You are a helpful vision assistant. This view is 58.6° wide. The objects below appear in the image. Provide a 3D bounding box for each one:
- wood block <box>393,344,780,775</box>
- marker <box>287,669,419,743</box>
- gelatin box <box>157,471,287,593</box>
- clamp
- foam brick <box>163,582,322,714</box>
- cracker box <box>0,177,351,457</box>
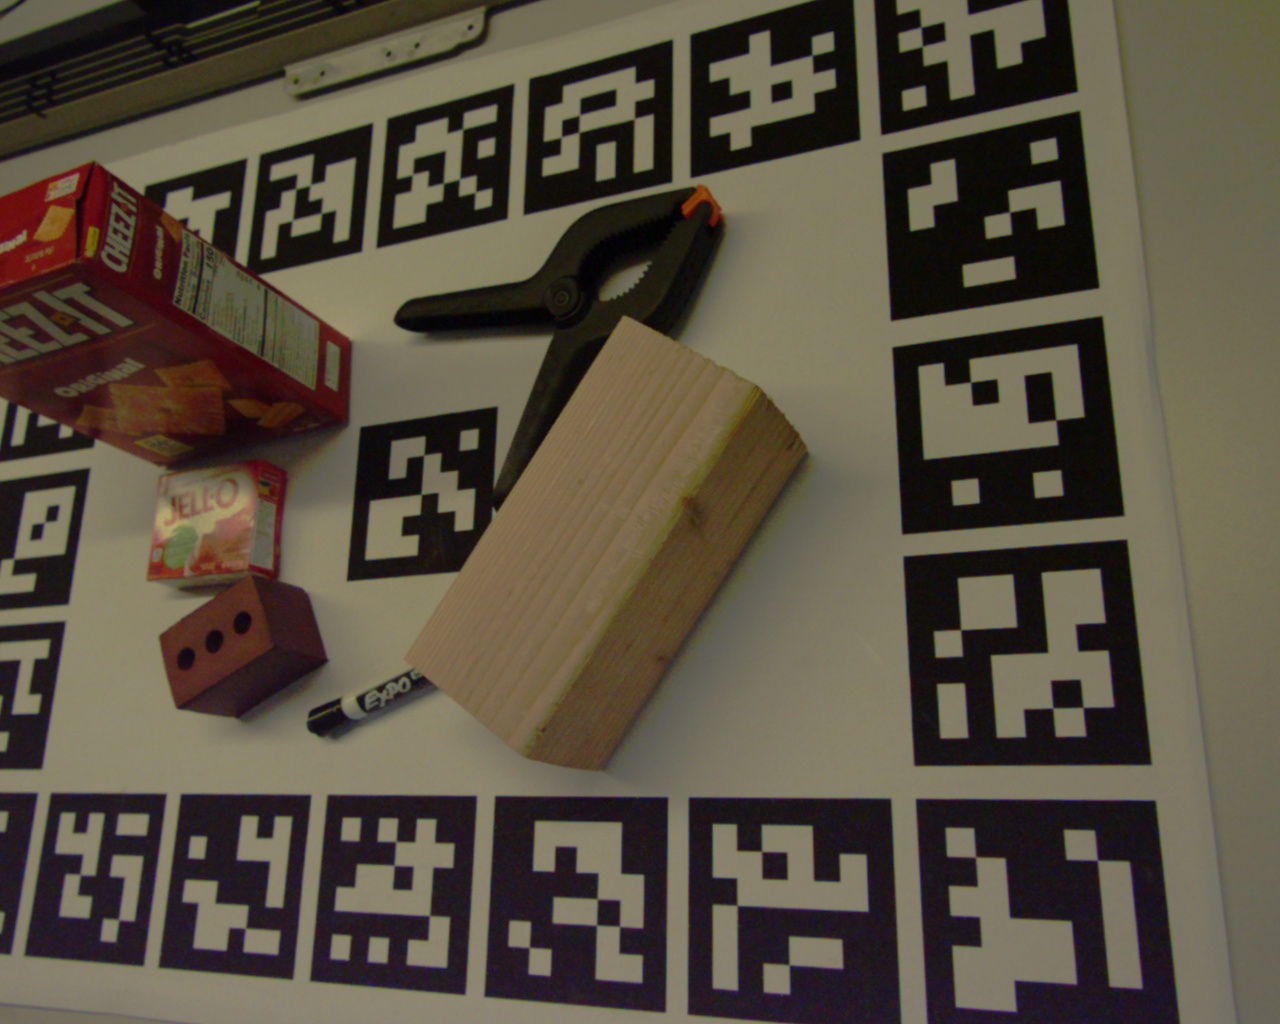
[{"bbox_3d":[-0.027,0.028,0.620,0.091,0.090,0.206,33,89,30],"label":"wood block"},{"bbox_3d":[-0.166,0.113,0.695,0.122,0.019,0.020,-26,69,17],"label":"marker"},{"bbox_3d":[-0.285,0.015,0.775,0.090,0.030,0.073,-7,75,23],"label":"gelatin box"},{"bbox_3d":[-0.052,-0.109,0.693,0.203,0.036,0.167,-36,65,13],"label":"clamp"},{"bbox_3d":[-0.253,0.088,0.726,0.078,0.051,0.053,-30,68,15],"label":"foam brick"},{"bbox_3d":[-0.309,-0.106,0.708,0.166,0.211,0.072,-9,72,20],"label":"cracker box"}]
